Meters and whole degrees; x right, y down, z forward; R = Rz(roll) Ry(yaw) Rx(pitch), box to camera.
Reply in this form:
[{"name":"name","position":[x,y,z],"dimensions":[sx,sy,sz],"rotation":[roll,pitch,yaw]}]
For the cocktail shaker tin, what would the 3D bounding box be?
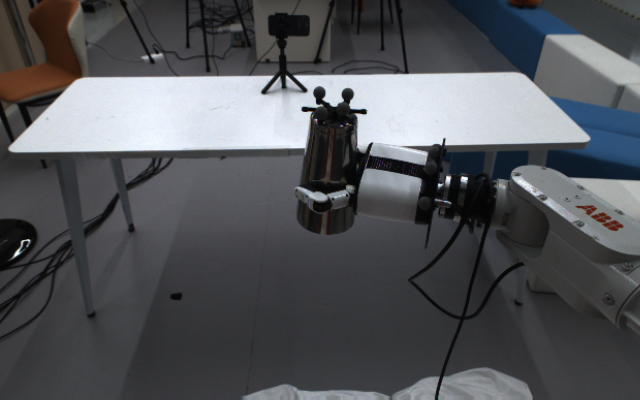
[{"name":"cocktail shaker tin","position":[0.015,-0.046,0.708],"dimensions":[0.093,0.170,0.093],"rotation":[3,34,-2]}]
